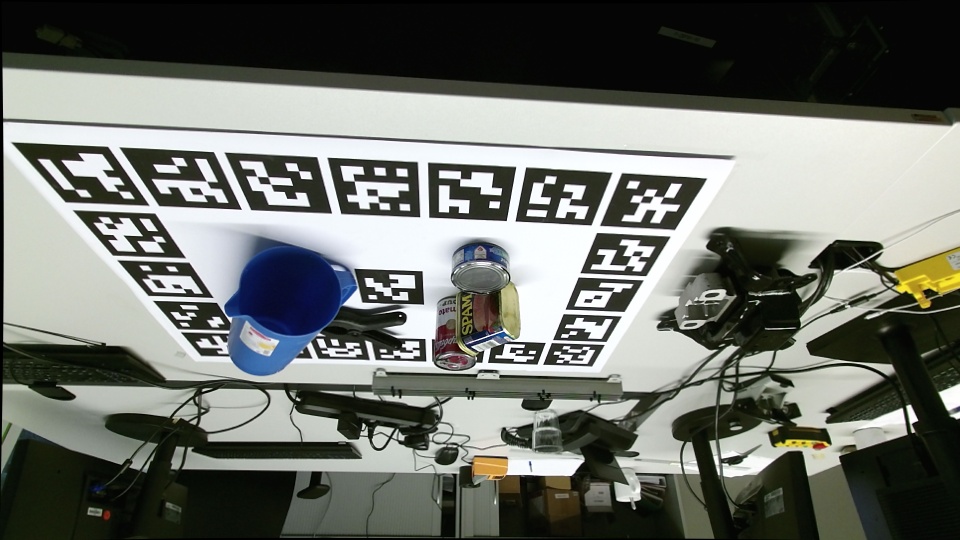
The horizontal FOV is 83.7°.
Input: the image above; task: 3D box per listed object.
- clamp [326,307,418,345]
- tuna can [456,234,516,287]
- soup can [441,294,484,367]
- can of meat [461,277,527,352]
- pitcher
[{"bbox_3d":[-0.192,0.094,0.942,0.166,0.036,0.122,6,148,-3],"label":"clamp"},{"bbox_3d":[0.009,-0.013,0.780,0.086,0.033,0.086,0,143,0],"label":"tuna can"},{"bbox_3d":[-0.031,0.099,0.881,0.068,0.101,0.068,-3,143,-2],"label":"soup can"},{"bbox_3d":[0.021,0.065,0.826,0.084,0.101,0.058,-23,138,23],"label":"can of meat"},{"bbox_3d":[-0.296,0.075,0.810,0.189,0.132,0.243,-5,158,-33],"label":"pitcher"}]
